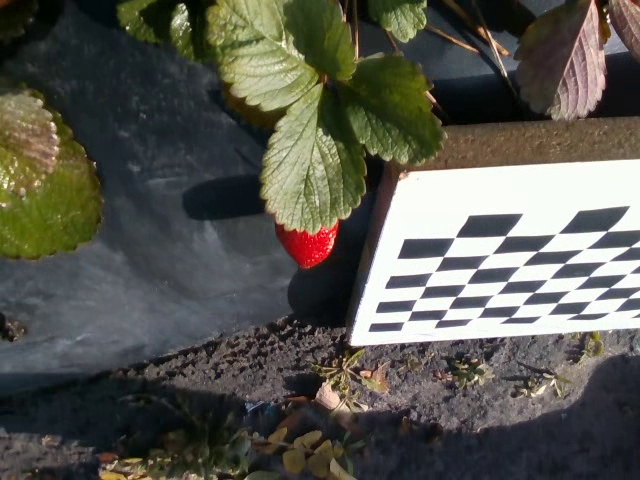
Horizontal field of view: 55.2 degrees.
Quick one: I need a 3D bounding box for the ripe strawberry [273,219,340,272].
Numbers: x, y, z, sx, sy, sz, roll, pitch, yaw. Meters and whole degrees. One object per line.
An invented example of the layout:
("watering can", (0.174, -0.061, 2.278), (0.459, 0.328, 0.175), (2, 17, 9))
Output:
("ripe strawberry", (-0.004, -0.004, 0.244), (0.034, 0.038, 0.033), (-3, 15, -2))
